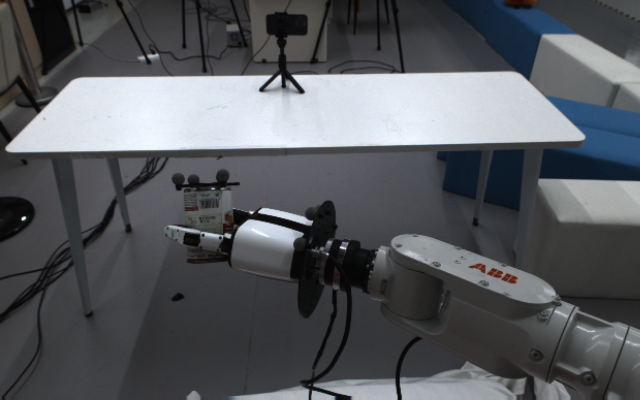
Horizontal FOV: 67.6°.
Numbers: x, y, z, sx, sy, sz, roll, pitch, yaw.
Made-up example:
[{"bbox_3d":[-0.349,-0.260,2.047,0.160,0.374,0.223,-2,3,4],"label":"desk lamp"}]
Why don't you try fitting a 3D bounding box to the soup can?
[{"bbox_3d":[-0.153,0.035,0.675,0.067,0.101,0.067,-3,-1,0],"label":"soup can"}]
